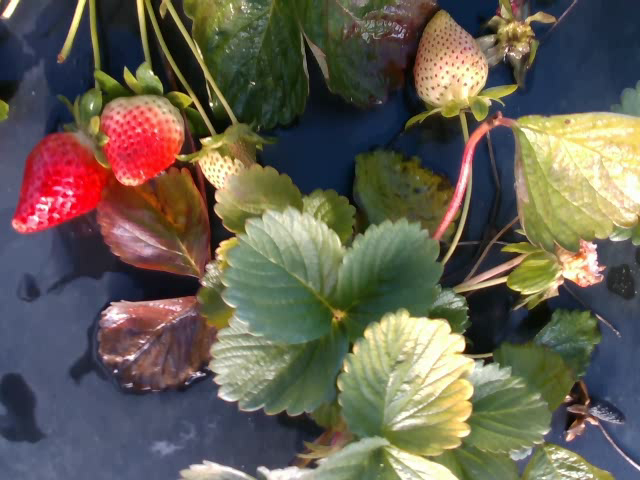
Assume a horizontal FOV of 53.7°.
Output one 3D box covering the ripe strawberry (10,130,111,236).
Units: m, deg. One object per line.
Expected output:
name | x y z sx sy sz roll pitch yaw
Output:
ripe strawberry | -0.122 -0.024 0.282 0.044 0.055 0.042 8 -35 37
